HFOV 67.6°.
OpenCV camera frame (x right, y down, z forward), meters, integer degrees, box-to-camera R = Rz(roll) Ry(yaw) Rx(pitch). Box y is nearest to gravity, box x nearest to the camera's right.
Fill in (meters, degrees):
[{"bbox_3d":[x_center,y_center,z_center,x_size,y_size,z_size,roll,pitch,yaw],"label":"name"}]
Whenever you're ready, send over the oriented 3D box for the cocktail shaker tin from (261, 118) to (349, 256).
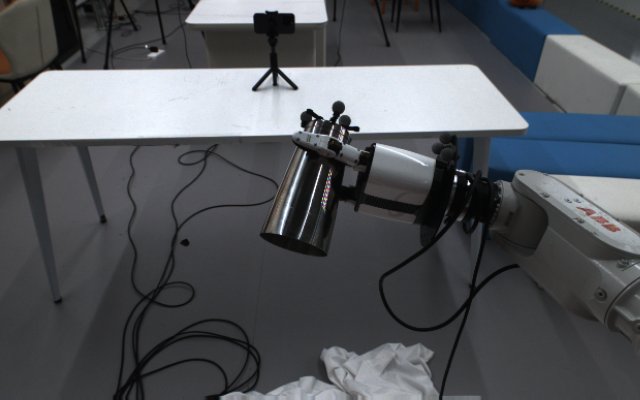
[{"bbox_3d":[-0.010,-0.021,0.655,0.093,0.093,0.170,12,72,14],"label":"cocktail shaker tin"}]
